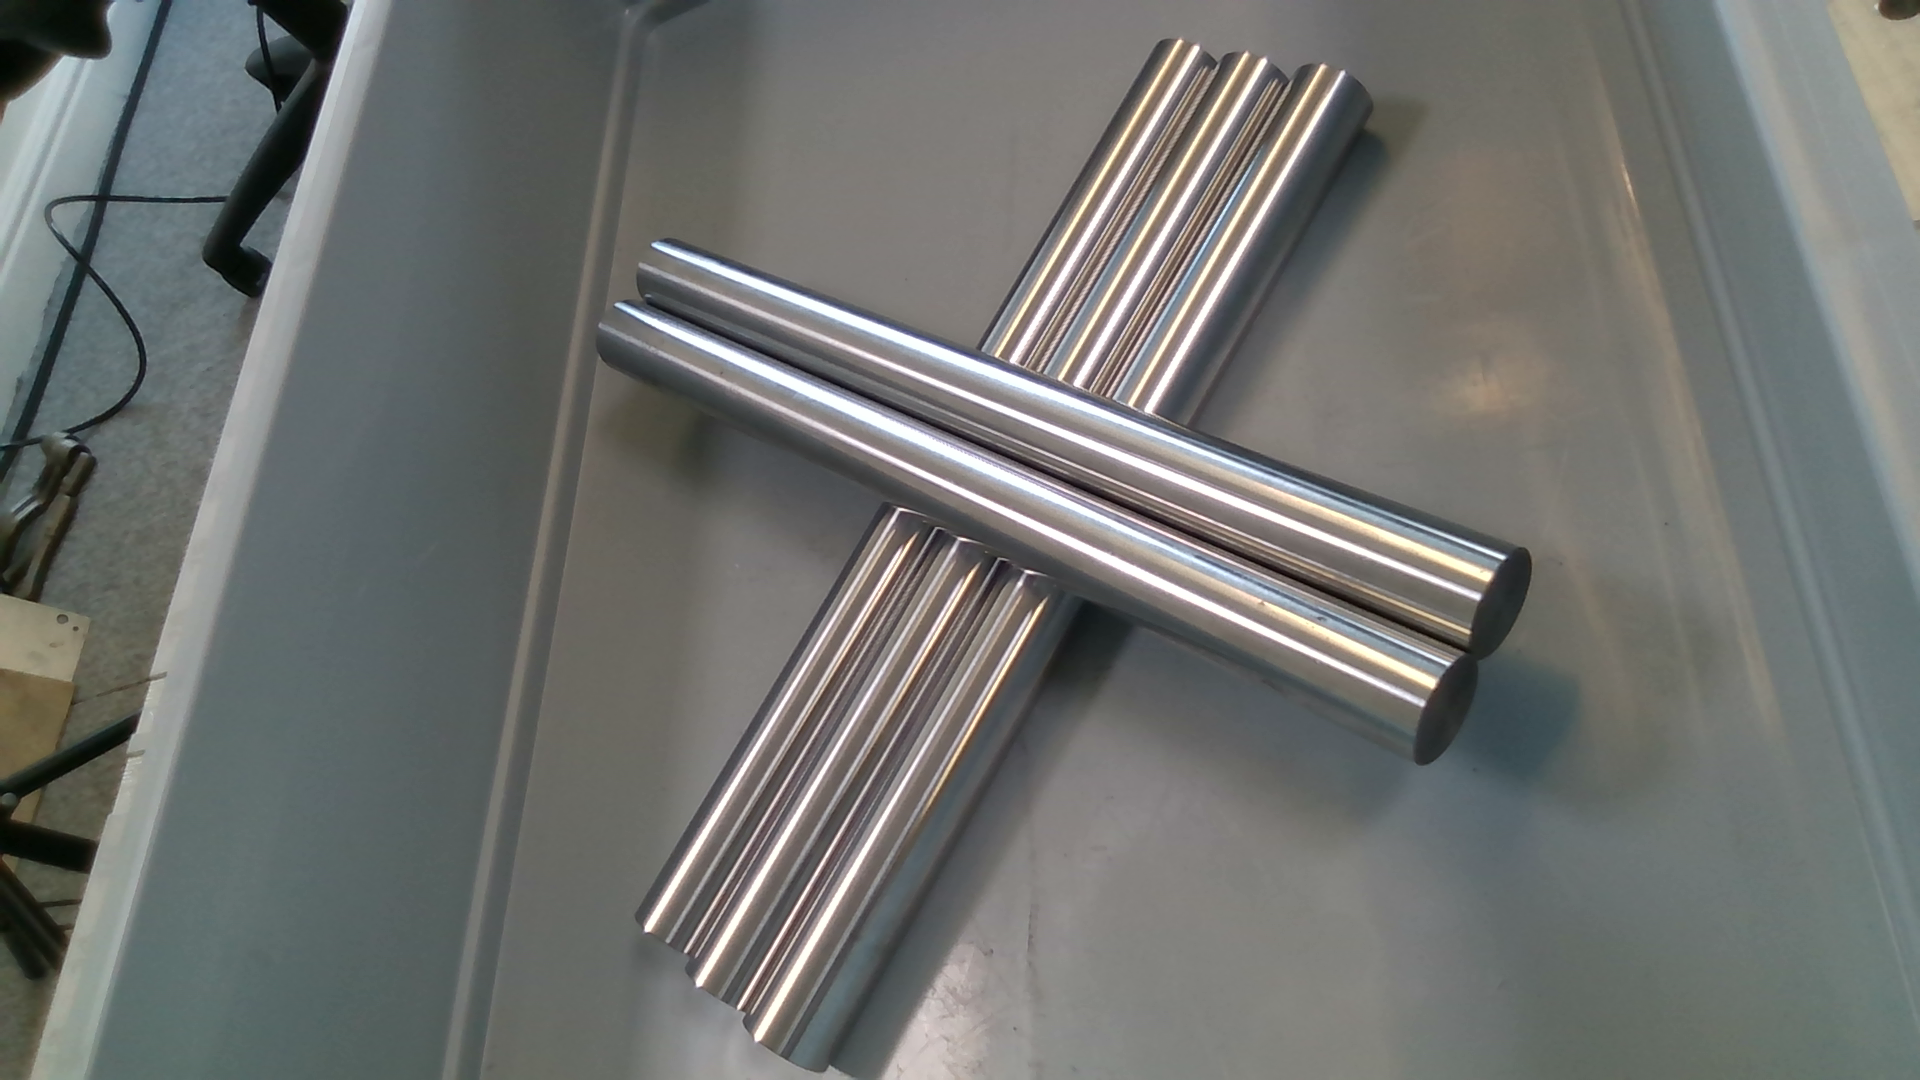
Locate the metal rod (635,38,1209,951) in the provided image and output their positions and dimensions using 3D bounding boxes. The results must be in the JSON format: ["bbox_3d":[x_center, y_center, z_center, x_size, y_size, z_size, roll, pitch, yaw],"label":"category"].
[{"bbox_3d":[-0.005,-0.019,0.404,0.025,0.025,0.300,24,80,38],"label":"metal rod"}]

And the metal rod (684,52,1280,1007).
[{"bbox_3d":[0.012,-0.009,0.389,0.025,0.025,0.300,24,80,38],"label":"metal rod"}]

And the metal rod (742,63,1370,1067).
[{"bbox_3d":[0.030,0.000,0.373,0.025,0.025,0.300,24,80,38],"label":"metal rod"}]

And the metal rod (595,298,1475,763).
[{"bbox_3d":[-0.007,-0.018,0.373,0.299,0.025,0.025,26,81,38],"label":"metal rod"}]

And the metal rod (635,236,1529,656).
[{"bbox_3d":[0.006,-0.040,0.377,0.299,0.025,0.025,26,81,38],"label":"metal rod"}]
